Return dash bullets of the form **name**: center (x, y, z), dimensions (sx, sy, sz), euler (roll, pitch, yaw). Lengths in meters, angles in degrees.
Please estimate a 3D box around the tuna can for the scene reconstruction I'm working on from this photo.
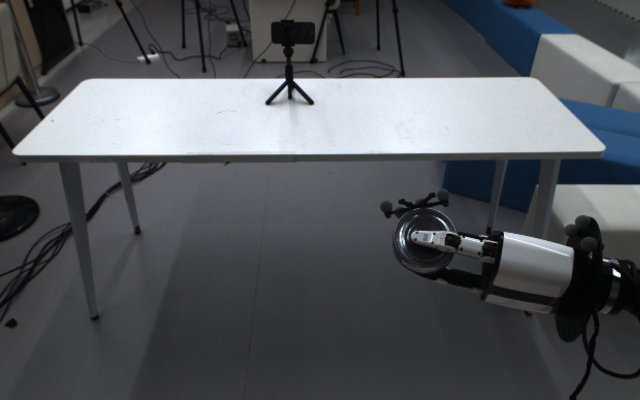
- **tuna can**: center (0.145, 0.060, 0.649), dimensions (0.085, 0.034, 0.085), euler (-4, 68, 9)
